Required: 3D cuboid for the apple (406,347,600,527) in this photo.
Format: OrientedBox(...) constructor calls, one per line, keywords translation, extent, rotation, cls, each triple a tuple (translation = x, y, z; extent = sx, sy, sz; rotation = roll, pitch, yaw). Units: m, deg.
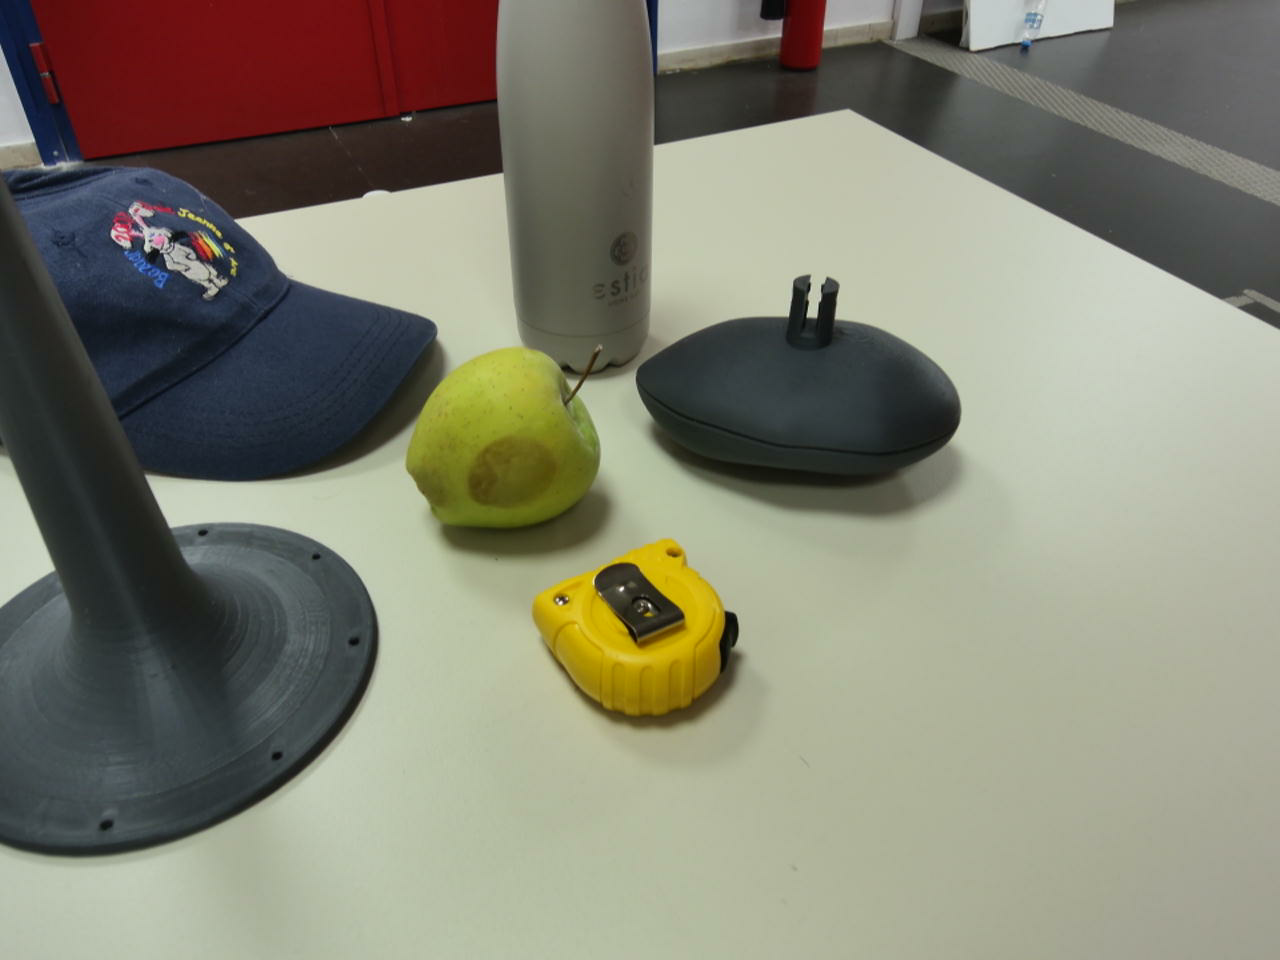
OrientedBox(translation=(-0.055, -0.018, 0.413), extent=(0.077, 0.075, 0.072), rotation=(12, 39, 13), cls="apple")
